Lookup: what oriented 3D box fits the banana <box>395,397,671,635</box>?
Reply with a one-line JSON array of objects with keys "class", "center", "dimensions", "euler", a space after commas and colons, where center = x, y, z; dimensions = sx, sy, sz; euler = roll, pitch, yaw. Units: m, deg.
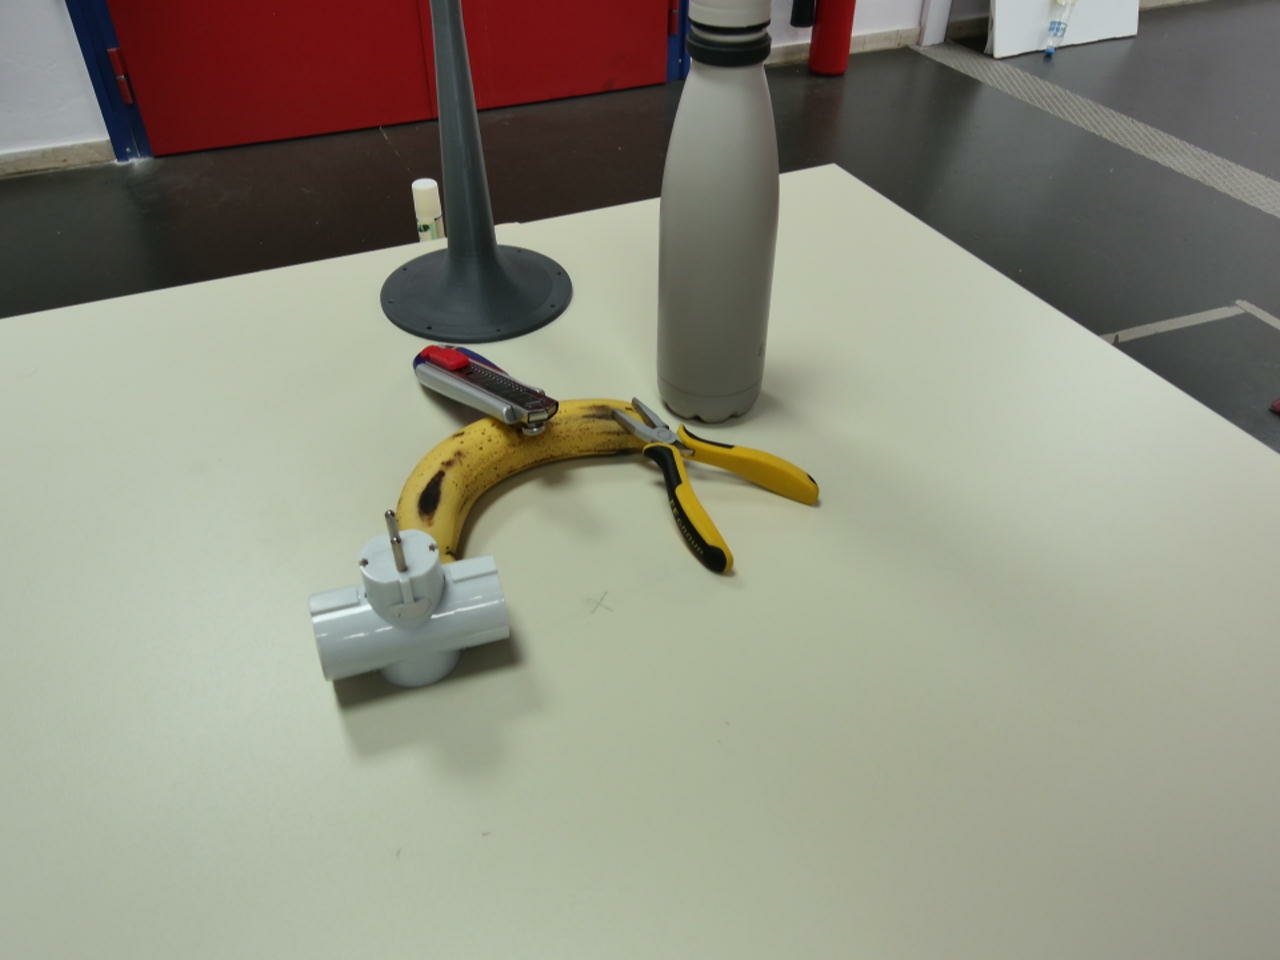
[{"class": "banana", "center": [-0.072, -0.003, 0.591], "dimensions": [0.097, 0.038, 0.186], "euler": [25, 45, 28]}]
